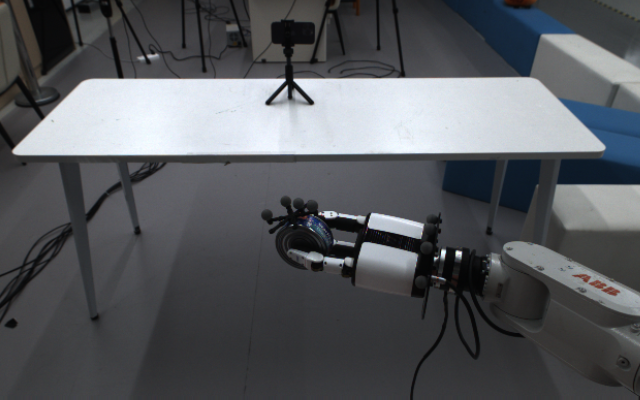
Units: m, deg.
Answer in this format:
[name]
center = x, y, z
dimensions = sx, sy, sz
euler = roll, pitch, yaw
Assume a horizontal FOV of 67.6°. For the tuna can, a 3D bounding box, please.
[tuna can]
center = -0.021, 0.071, 0.741
dimensions = 0.085, 0.085, 0.034
euler = 11, 34, 13
